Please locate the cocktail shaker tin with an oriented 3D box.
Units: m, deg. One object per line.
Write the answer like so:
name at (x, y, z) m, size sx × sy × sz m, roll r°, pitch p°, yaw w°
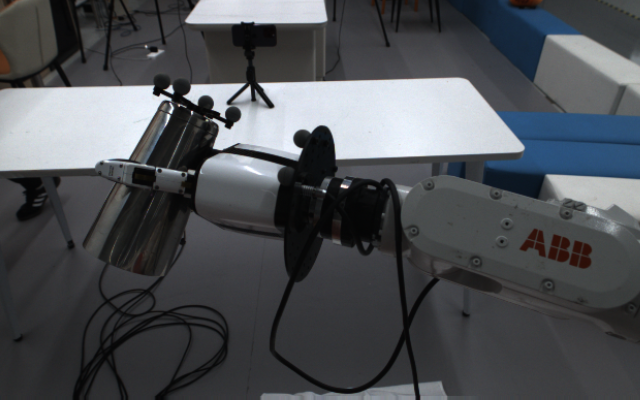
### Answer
cocktail shaker tin at (-0.171, -0.016, 0.519) m, size 0.093 × 0.170 × 0.093 m, roll 23°, pitch 0°, yaw 0°
